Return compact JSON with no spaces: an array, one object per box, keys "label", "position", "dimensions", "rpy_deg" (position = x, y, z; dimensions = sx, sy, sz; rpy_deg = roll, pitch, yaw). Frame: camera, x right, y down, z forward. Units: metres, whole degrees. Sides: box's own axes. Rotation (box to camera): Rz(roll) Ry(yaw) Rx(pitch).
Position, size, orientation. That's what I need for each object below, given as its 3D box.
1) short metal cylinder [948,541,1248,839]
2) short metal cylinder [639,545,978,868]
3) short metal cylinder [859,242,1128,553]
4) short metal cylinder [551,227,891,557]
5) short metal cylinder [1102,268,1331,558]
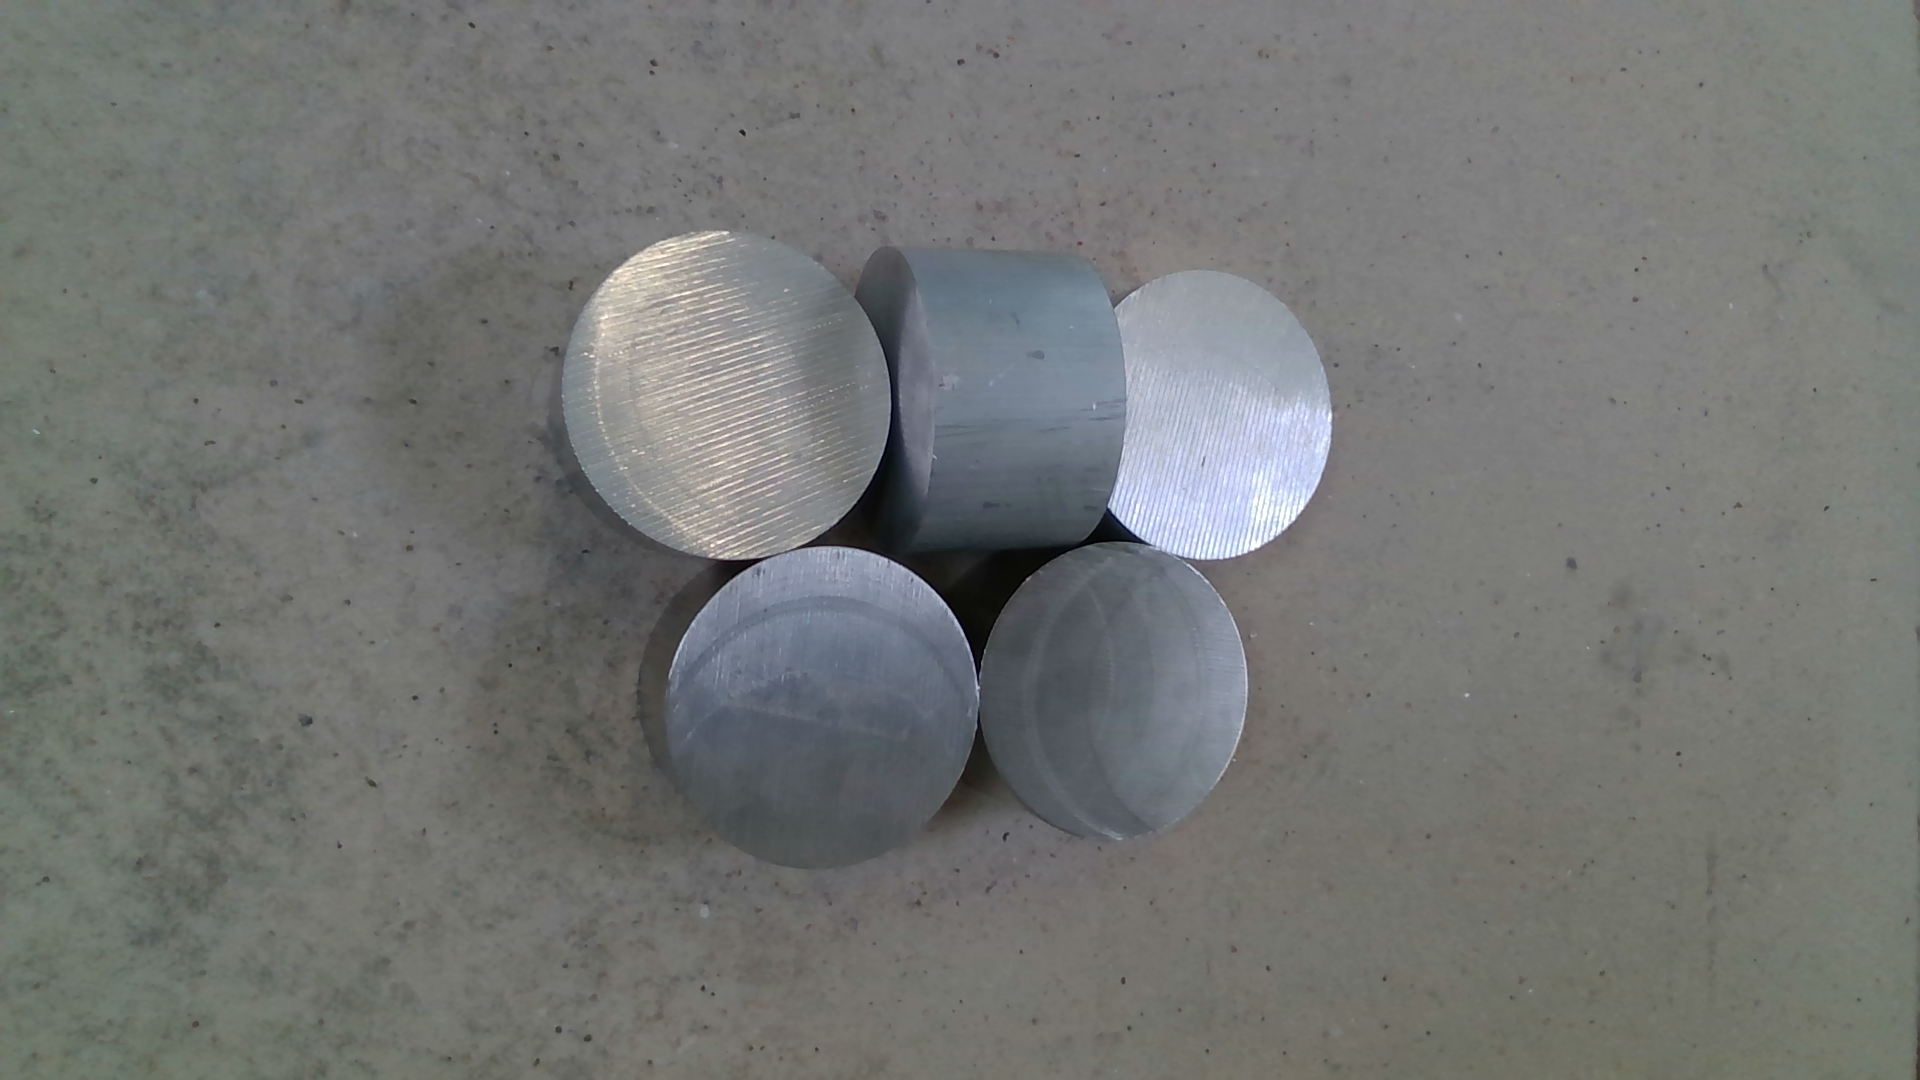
[{"label":"short metal cylinder","position":[0.034,0.040,0.393],"dimensions":[0.080,0.050,0.080],"rpy_deg":[0,90,-20]},{"label":"short metal cylinder","position":[-0.041,0.042,0.365],"dimensions":[0.080,0.050,0.080],"rpy_deg":[0,89,-20]},{"label":"short metal cylinder","position":[0.004,-0.038,0.366],"dimensions":[0.050,0.080,0.080],"rpy_deg":[-3,91,-20]},{"label":"short metal cylinder","position":[-0.063,-0.035,0.357],"dimensions":[0.080,0.050,0.080],"rpy_deg":[0,89,-20]},{"label":"short metal cylinder","position":[0.060,-0.035,0.403],"dimensions":[0.080,0.050,0.080],"rpy_deg":[0,89,-20]}]
